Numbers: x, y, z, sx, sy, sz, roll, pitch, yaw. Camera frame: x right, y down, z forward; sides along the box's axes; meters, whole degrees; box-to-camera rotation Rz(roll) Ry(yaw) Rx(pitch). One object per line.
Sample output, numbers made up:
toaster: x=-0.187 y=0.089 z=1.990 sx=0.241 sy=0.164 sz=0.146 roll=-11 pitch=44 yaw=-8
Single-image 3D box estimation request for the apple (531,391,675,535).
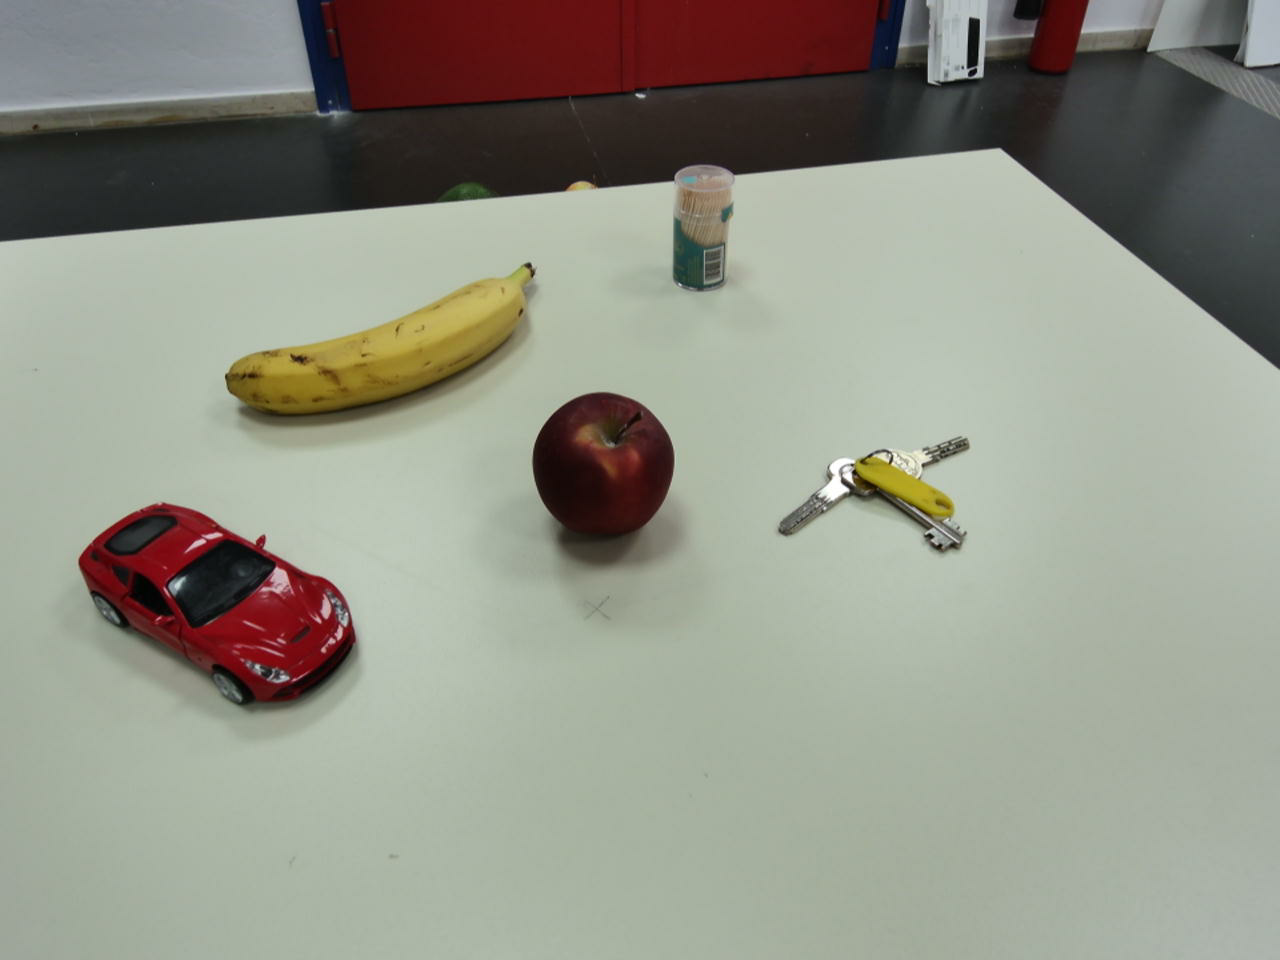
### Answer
apple: x=-0.018 y=-0.007 z=0.487 sx=0.070 sy=0.072 sz=0.070 roll=1 pitch=39 yaw=-1
